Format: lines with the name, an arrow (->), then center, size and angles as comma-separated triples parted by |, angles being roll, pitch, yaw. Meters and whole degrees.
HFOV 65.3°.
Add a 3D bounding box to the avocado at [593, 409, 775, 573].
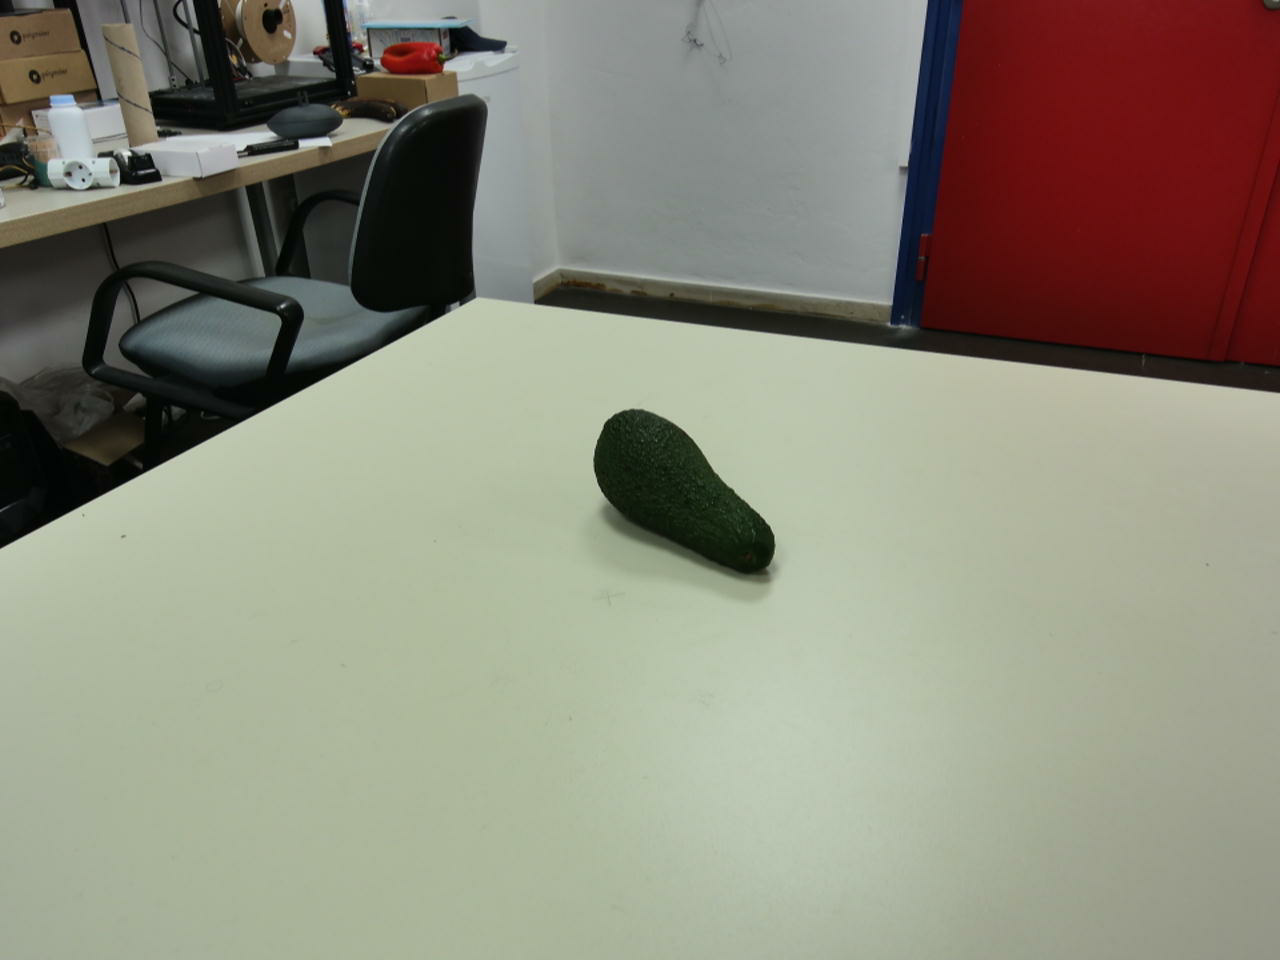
avocado -> 0.029, 0.001, 0.585 | 0.141, 0.067, 0.063 | 20, 32, 35
